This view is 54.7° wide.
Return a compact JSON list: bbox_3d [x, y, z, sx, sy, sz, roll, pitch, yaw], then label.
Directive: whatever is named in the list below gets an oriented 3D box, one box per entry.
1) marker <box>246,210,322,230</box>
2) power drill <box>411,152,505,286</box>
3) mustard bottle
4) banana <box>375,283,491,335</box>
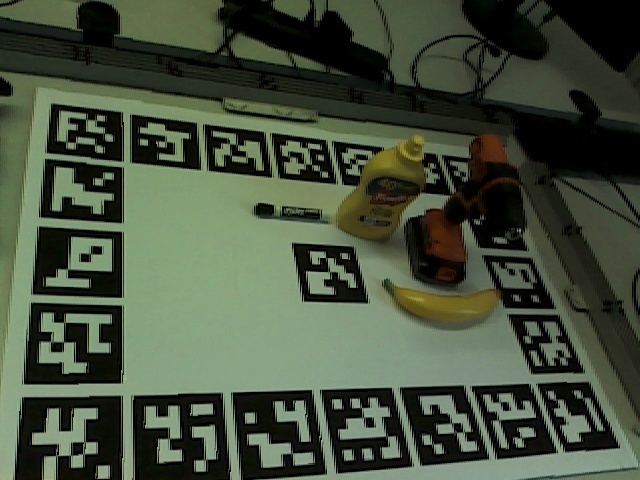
[{"bbox_3d":[-0.056,-0.032,0.963,0.120,0.019,0.020,6,54,-20],"label":"marker"},{"bbox_3d":[0.206,-0.015,0.927,0.057,0.187,0.185,16,47,-15],"label":"power drill"},{"bbox_3d":[0.092,-0.065,0.938,0.096,0.191,0.058,14,50,-15],"label":"mustard bottle"},{"bbox_3d":[0.178,0.111,0.946,0.196,0.039,0.074,10,53,-15],"label":"banana"}]
